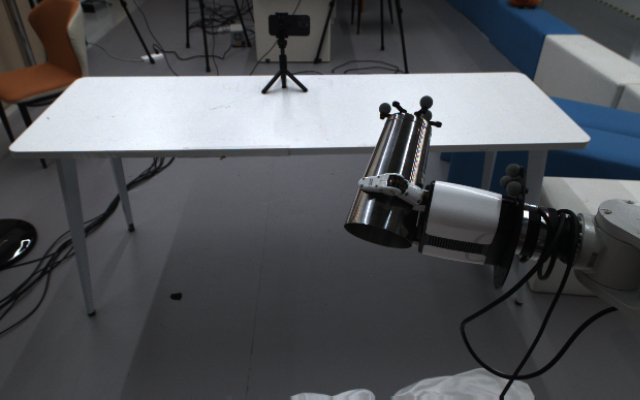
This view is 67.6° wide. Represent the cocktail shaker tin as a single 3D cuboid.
[{"bbox_3d":[0.100,-0.029,0.661,0.093,0.093,0.170,14,73,16],"label":"cocktail shaker tin"}]
